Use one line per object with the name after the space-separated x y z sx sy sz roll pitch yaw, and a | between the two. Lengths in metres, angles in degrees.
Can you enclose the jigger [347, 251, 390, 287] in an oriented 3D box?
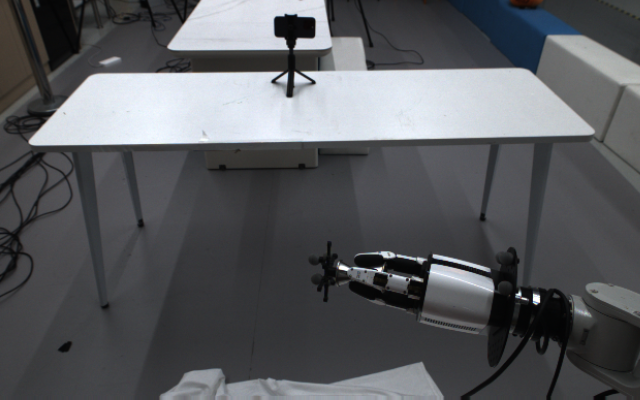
0.068 0.102 0.696 0.071 0.043 0.043 2 34 17 | jigger
